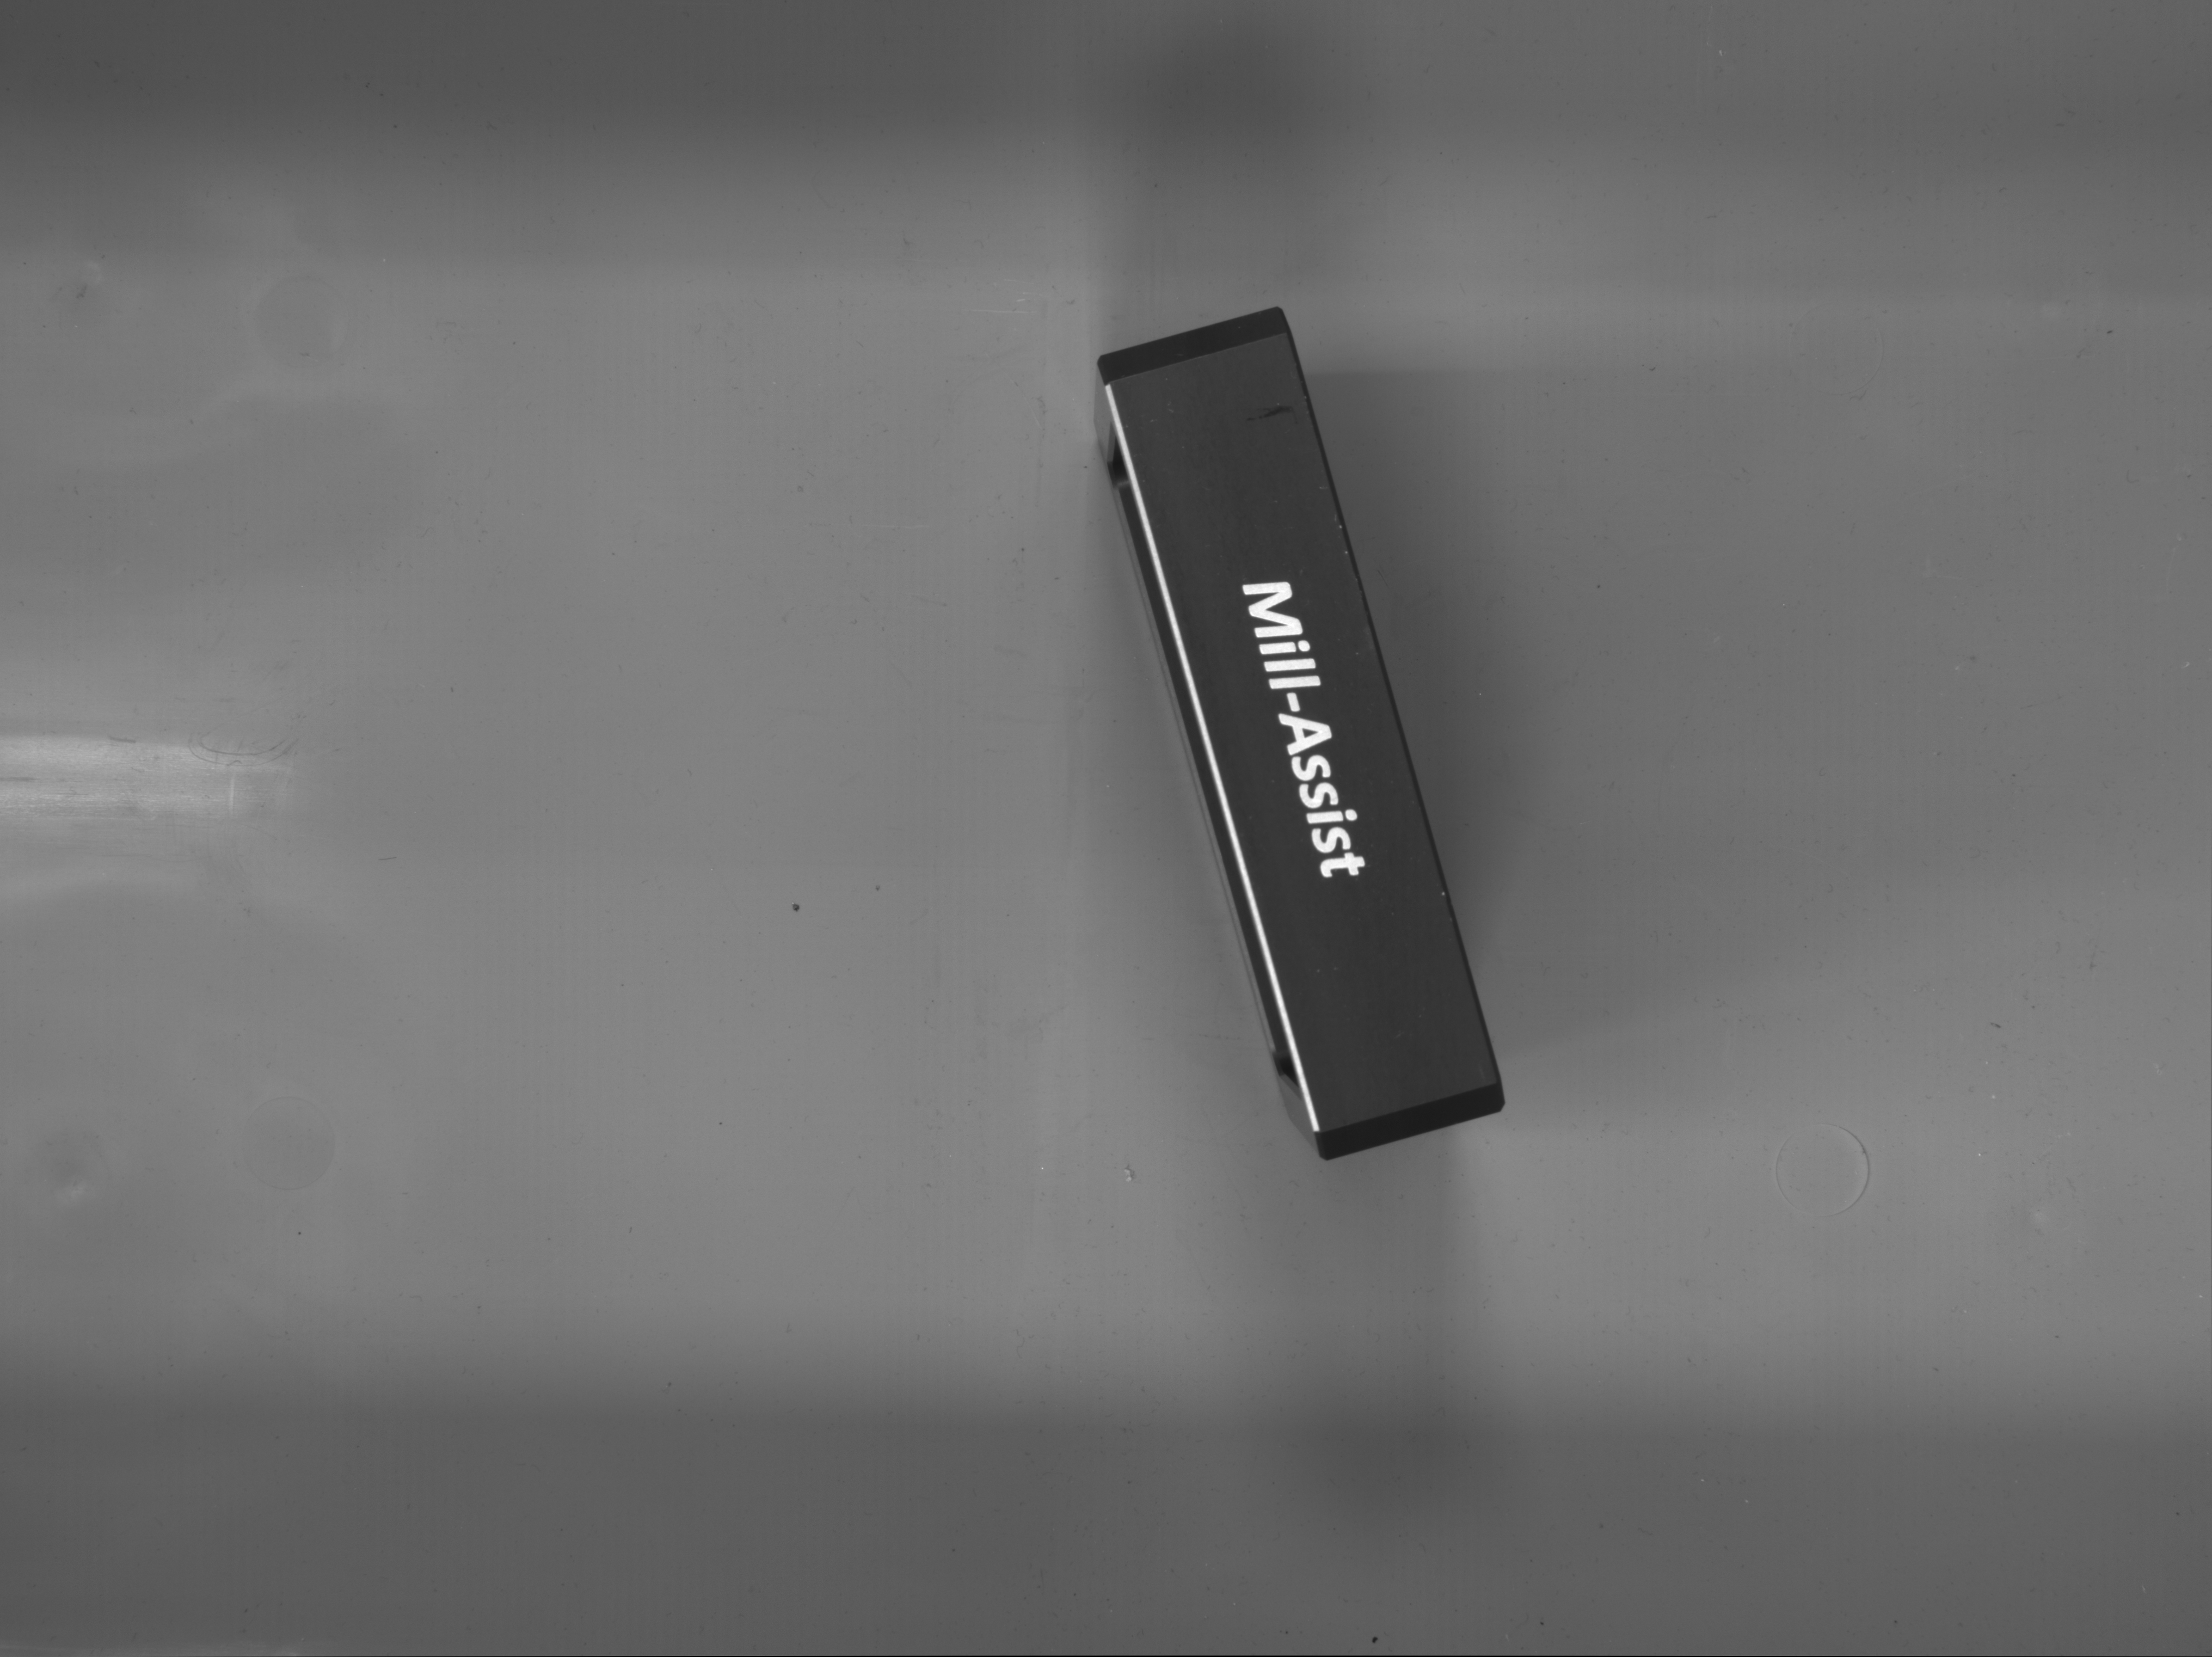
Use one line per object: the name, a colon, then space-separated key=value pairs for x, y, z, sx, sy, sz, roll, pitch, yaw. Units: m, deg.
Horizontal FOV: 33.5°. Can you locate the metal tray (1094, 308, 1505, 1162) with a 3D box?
metal tray: x=0.030 y=-0.014 z=0.611 sx=0.030 sy=0.090 sz=0.130 roll=-16 pitch=90 yaw=-1
